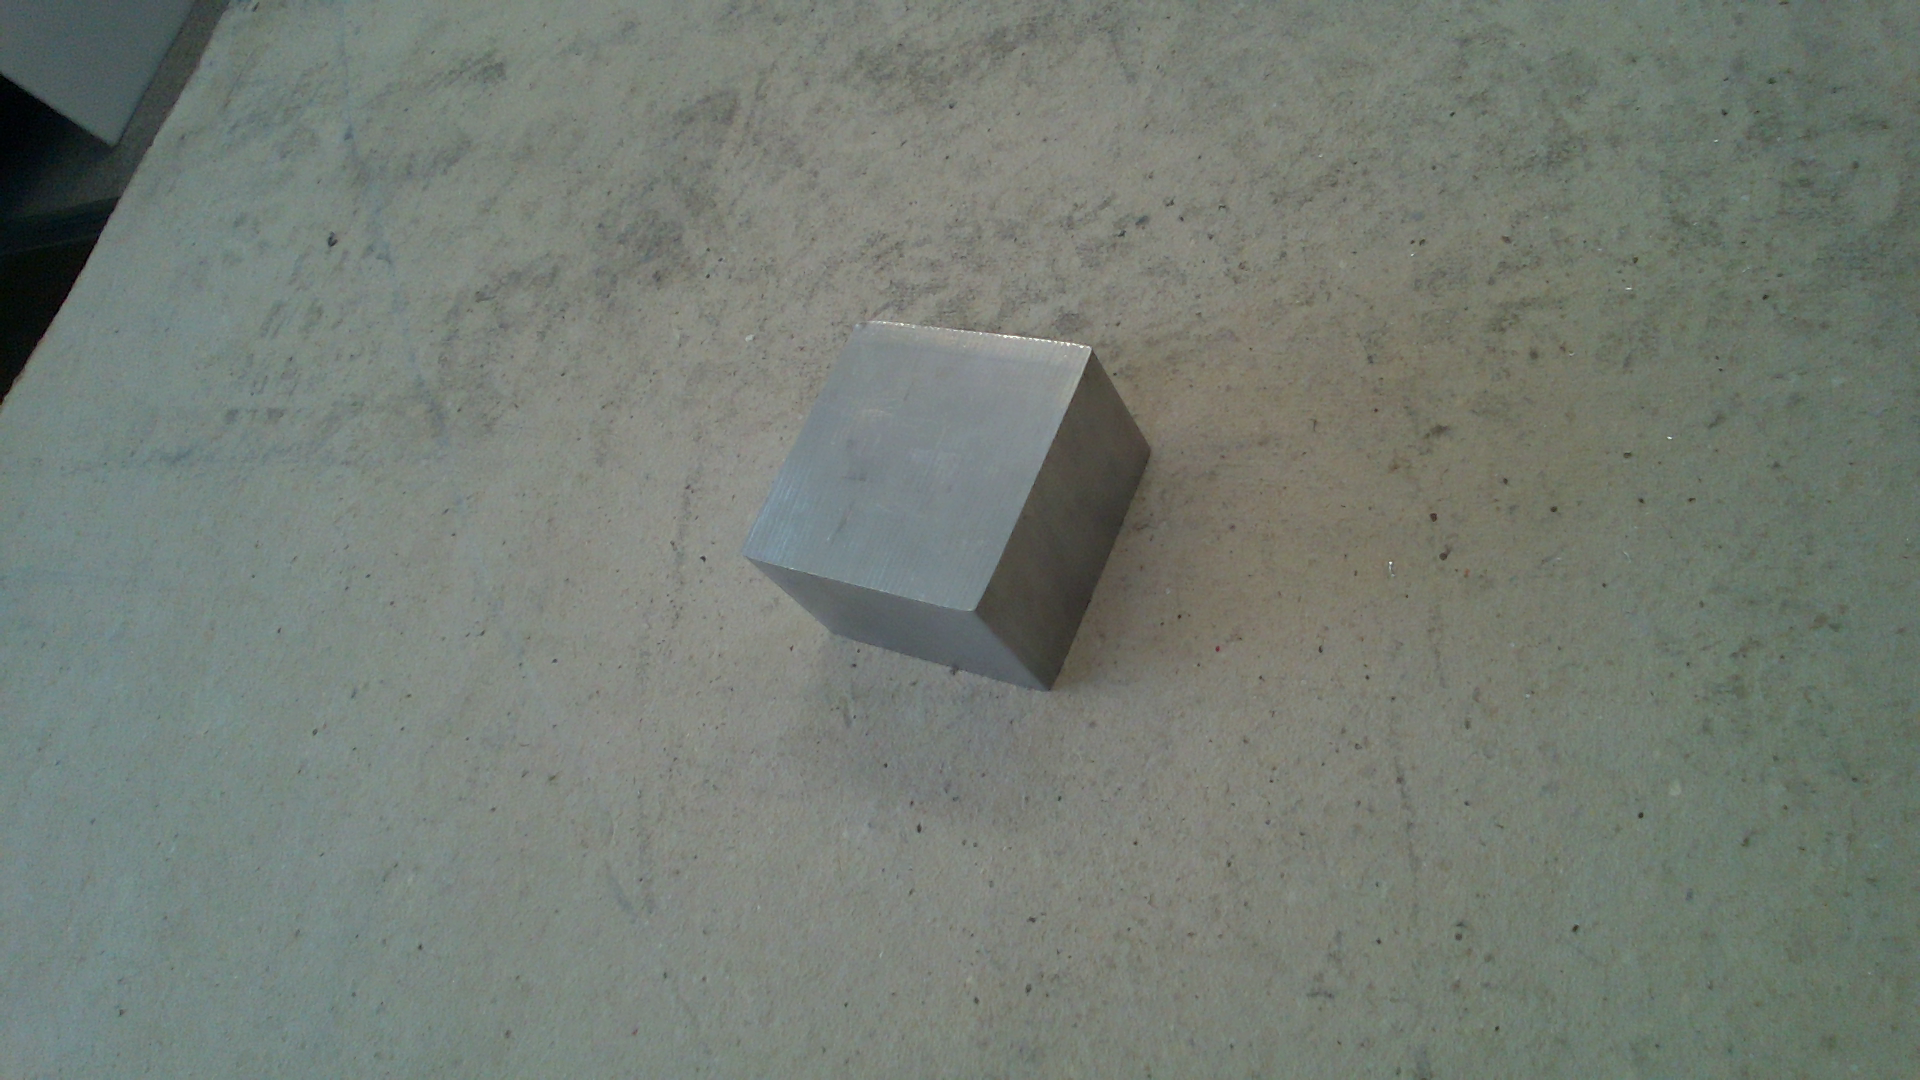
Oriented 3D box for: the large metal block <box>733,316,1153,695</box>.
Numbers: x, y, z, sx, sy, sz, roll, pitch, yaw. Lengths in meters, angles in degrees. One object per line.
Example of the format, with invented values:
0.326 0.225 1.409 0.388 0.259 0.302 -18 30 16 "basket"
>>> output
-0.003 -0.012 0.387 0.080 0.050 0.080 12 68 32 "large metal block"
